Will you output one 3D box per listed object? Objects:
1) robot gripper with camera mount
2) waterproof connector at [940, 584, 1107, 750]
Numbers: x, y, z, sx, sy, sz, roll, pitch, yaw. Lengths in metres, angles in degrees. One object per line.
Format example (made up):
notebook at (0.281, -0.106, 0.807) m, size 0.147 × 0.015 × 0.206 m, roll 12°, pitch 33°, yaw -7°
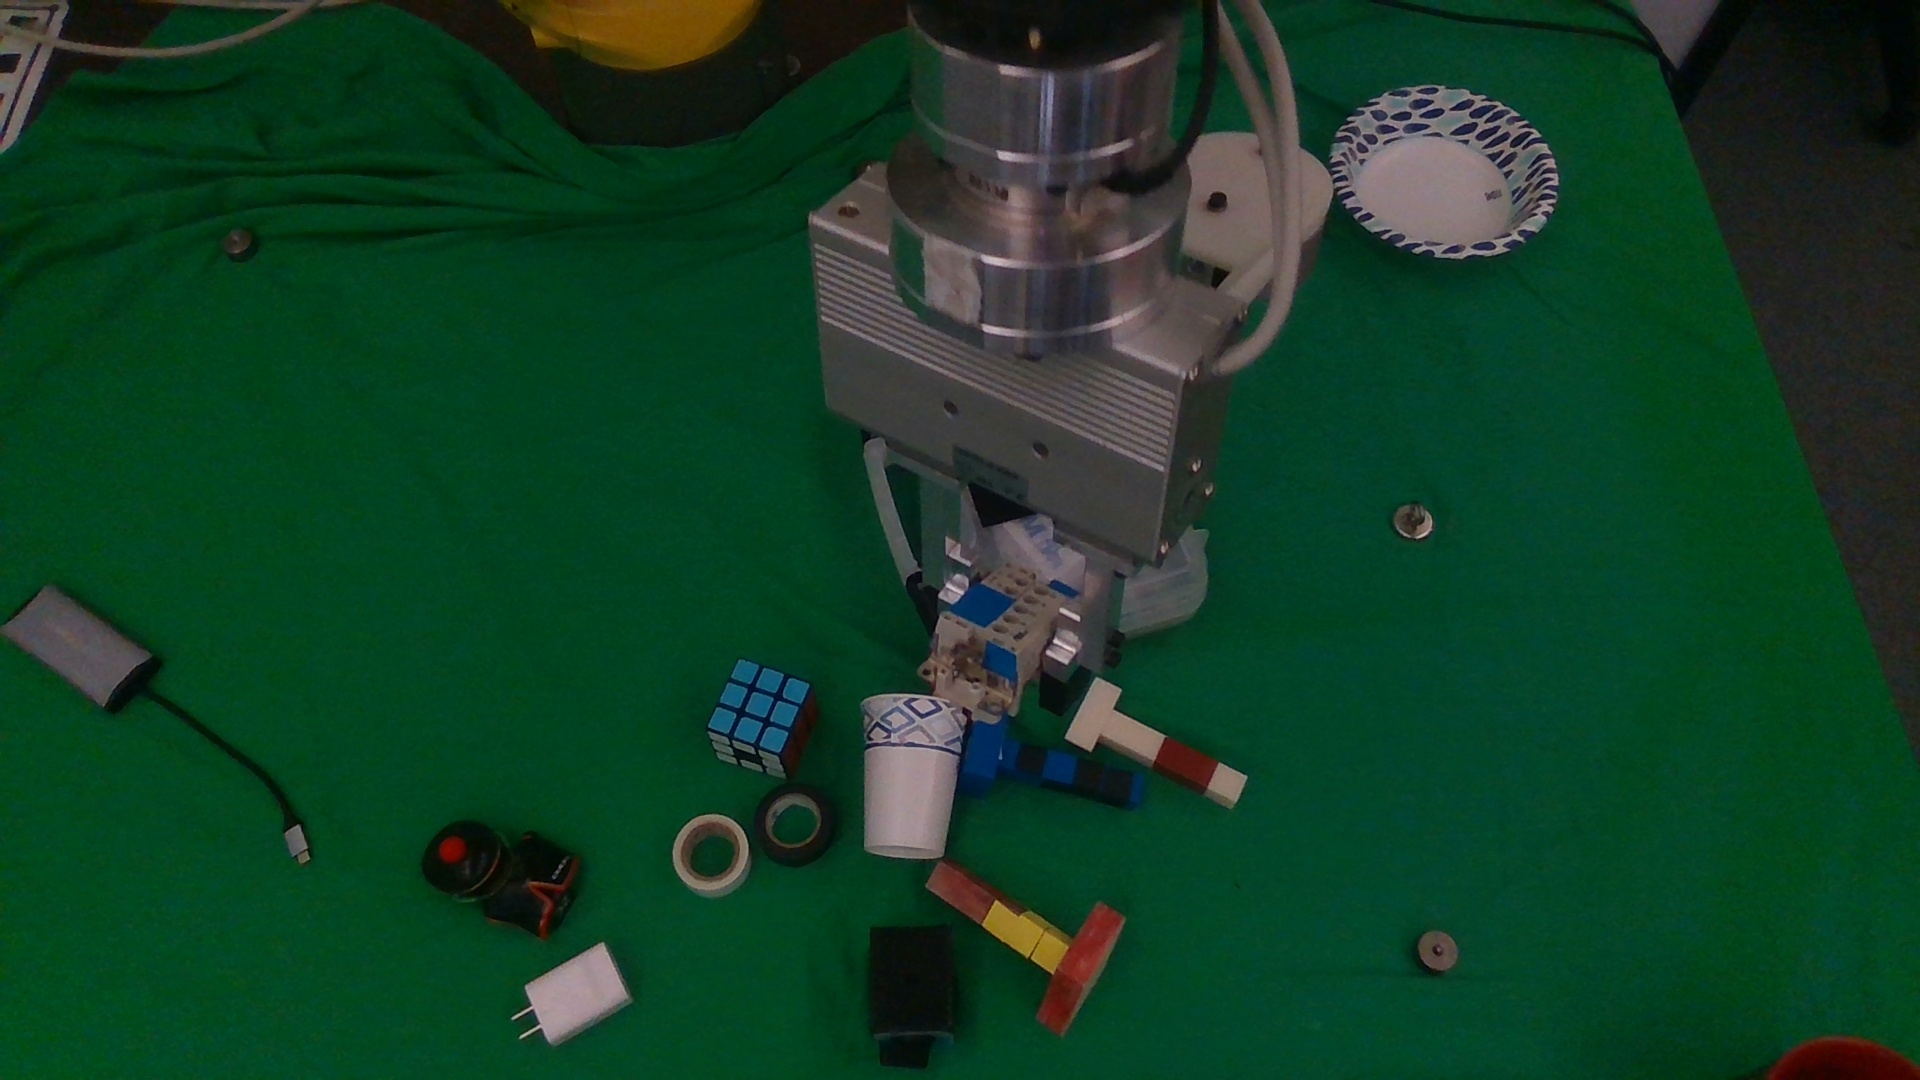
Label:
robot gripper with camera mount at (0.065, -0.044, 0.480) m, size 0.119 × 0.158 × 0.193 m, roll 27°, pitch 51°, yaw 20°
waterproof connector at (0.023, 0.045, 0.476) m, size 0.035 × 0.037 × 0.065 m, roll 24°, pitch 40°, yaw 22°
